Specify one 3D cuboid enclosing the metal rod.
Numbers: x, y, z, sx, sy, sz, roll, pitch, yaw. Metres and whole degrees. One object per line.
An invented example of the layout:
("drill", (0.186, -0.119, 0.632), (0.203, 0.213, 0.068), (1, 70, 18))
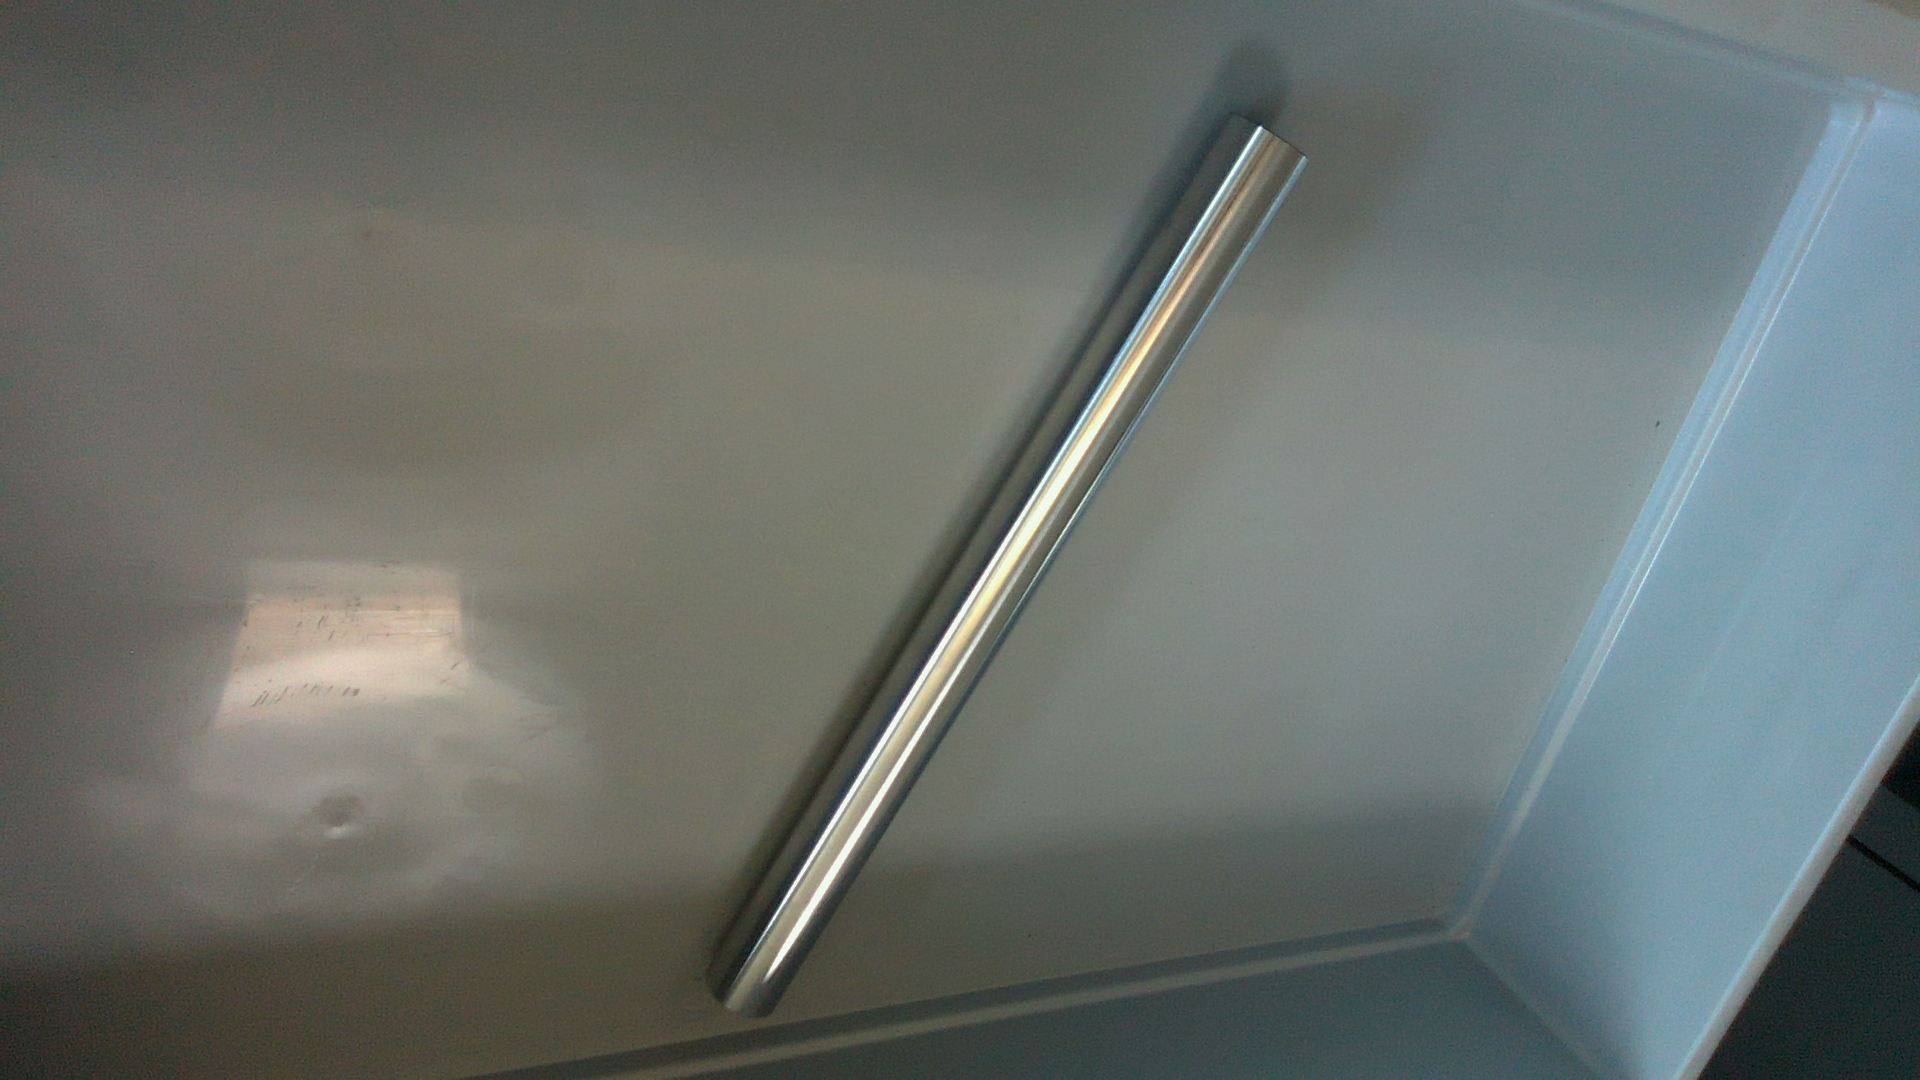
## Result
("metal rod", (0.005, 0.018, 0.400), (0.025, 0.025, 0.300), (21, 107, -36))
